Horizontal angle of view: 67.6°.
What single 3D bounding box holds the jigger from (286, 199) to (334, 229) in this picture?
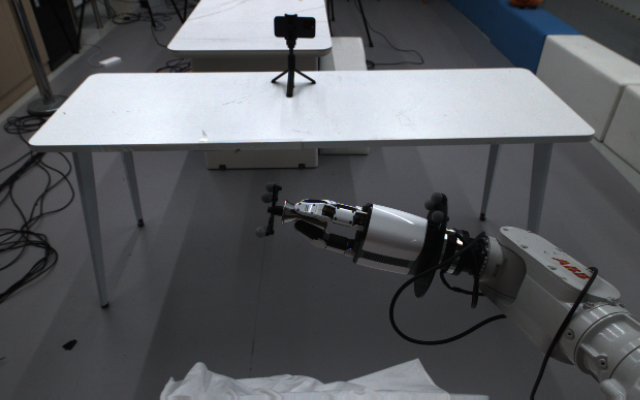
[{"bbox_3d":[-0.015,0.020,0.734,0.071,0.043,0.043,9,35,1],"label":"jigger"}]
